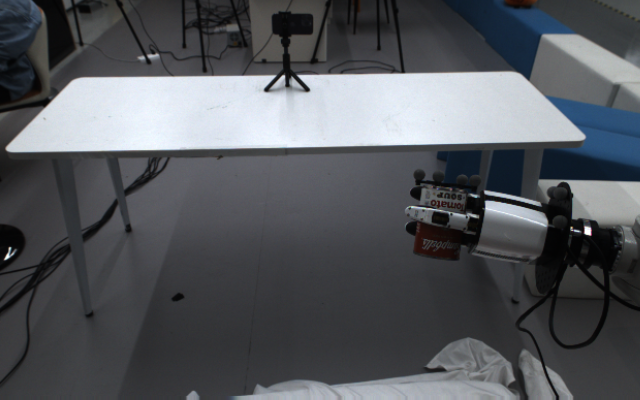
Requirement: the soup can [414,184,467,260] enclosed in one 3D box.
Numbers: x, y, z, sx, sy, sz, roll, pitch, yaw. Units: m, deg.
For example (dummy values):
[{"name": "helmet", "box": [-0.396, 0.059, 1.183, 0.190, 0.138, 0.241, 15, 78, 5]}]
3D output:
[{"name": "soup can", "box": [0.178, 0.032, 0.709, 0.067, 0.101, 0.067, 7, 3, 0]}]
